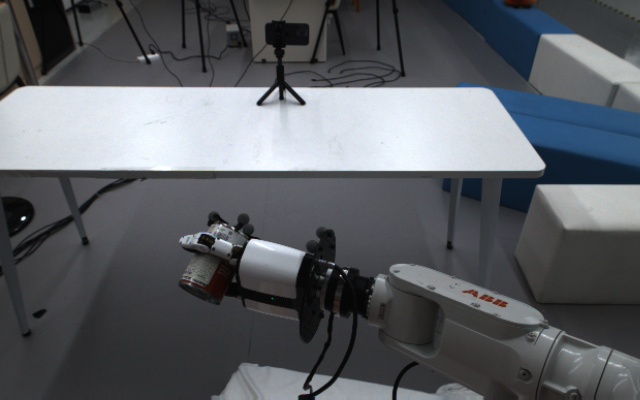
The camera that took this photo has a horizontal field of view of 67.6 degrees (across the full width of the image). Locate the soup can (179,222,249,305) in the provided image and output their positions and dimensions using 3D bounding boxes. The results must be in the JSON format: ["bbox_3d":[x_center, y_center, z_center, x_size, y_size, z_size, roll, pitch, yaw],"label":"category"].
[{"bbox_3d":[-0.151,0.093,0.703,0.067,0.067,0.101,16,63,19],"label":"soup can"}]
